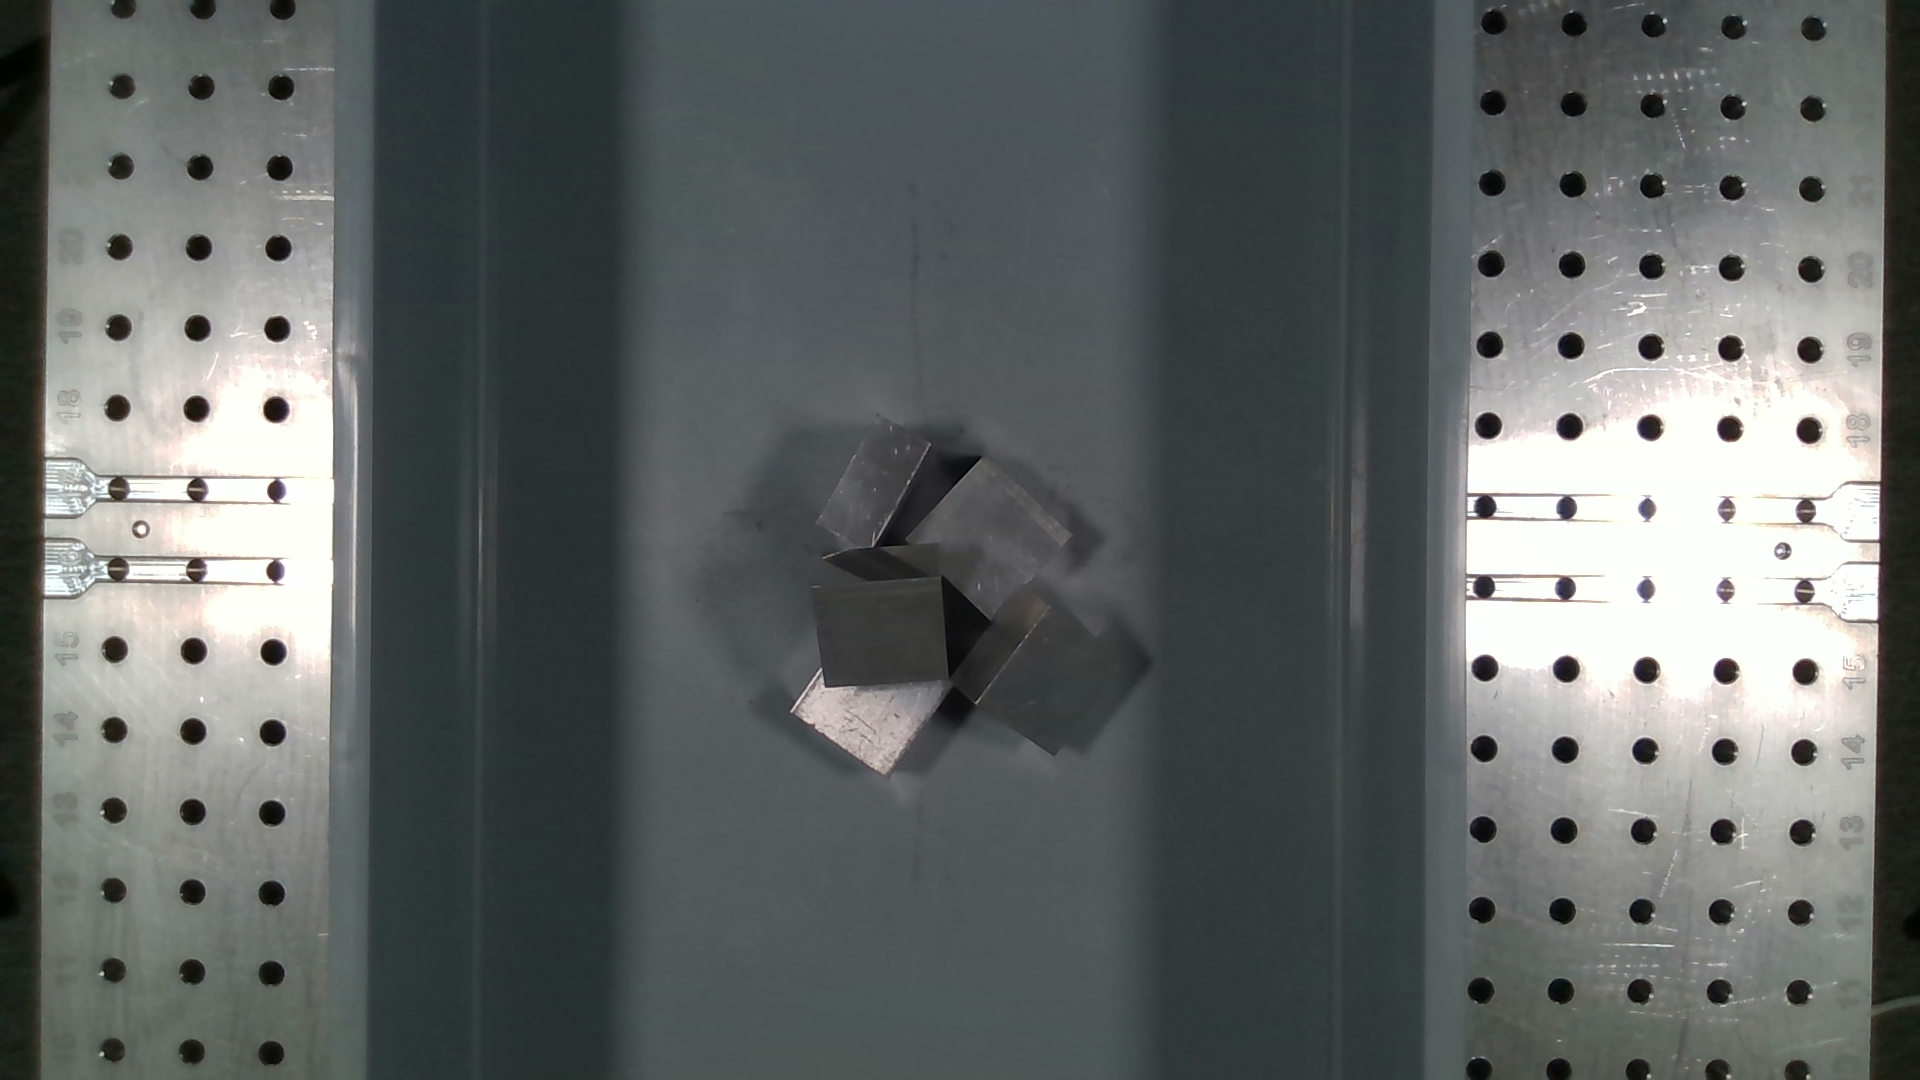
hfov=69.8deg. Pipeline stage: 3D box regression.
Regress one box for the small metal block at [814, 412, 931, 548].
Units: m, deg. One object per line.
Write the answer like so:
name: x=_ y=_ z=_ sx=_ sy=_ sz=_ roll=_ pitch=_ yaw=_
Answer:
small metal block: x=-0.035 y=-0.023 z=0.572 sx=0.025 sy=0.050 sz=0.050 roll=29 pitch=90 yaw=0

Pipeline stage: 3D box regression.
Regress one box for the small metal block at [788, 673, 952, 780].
small metal block: x=-0.037 y=0.065 z=0.586 sx=0.050 sy=0.025 sz=0.050 roll=35 pitch=90 yaw=0

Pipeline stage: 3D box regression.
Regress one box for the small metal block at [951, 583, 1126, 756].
small metal block: x=0.033 y=0.054 z=0.575 sx=0.050 sy=0.025 sz=0.050 roll=36 pitch=91 yaw=-33

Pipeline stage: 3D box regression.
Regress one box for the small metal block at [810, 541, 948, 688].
small metal block: x=-0.032 y=0.030 z=0.550 sx=0.050 sy=0.025 sz=0.050 roll=-4 pitch=123 yaw=0

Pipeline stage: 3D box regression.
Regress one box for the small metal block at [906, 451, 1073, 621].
small metal block: x=0.012 y=-0.002 z=0.585 sx=0.050 sy=0.025 sz=0.050 roll=43 pitch=90 yaw=0
